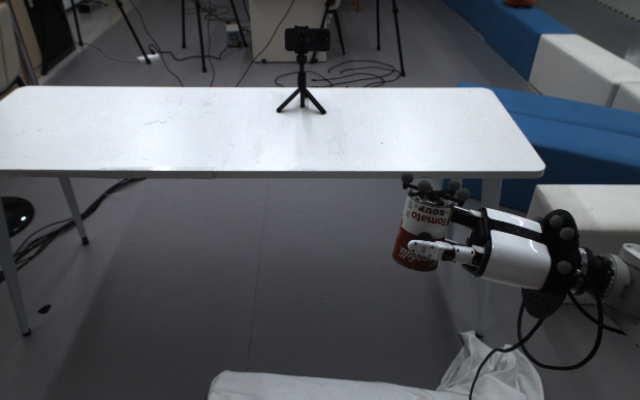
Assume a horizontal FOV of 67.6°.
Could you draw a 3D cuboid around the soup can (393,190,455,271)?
[{"bbox_3d":[0.149,0.040,0.691,0.067,0.101,0.067,9,20,-3],"label":"soup can"}]
